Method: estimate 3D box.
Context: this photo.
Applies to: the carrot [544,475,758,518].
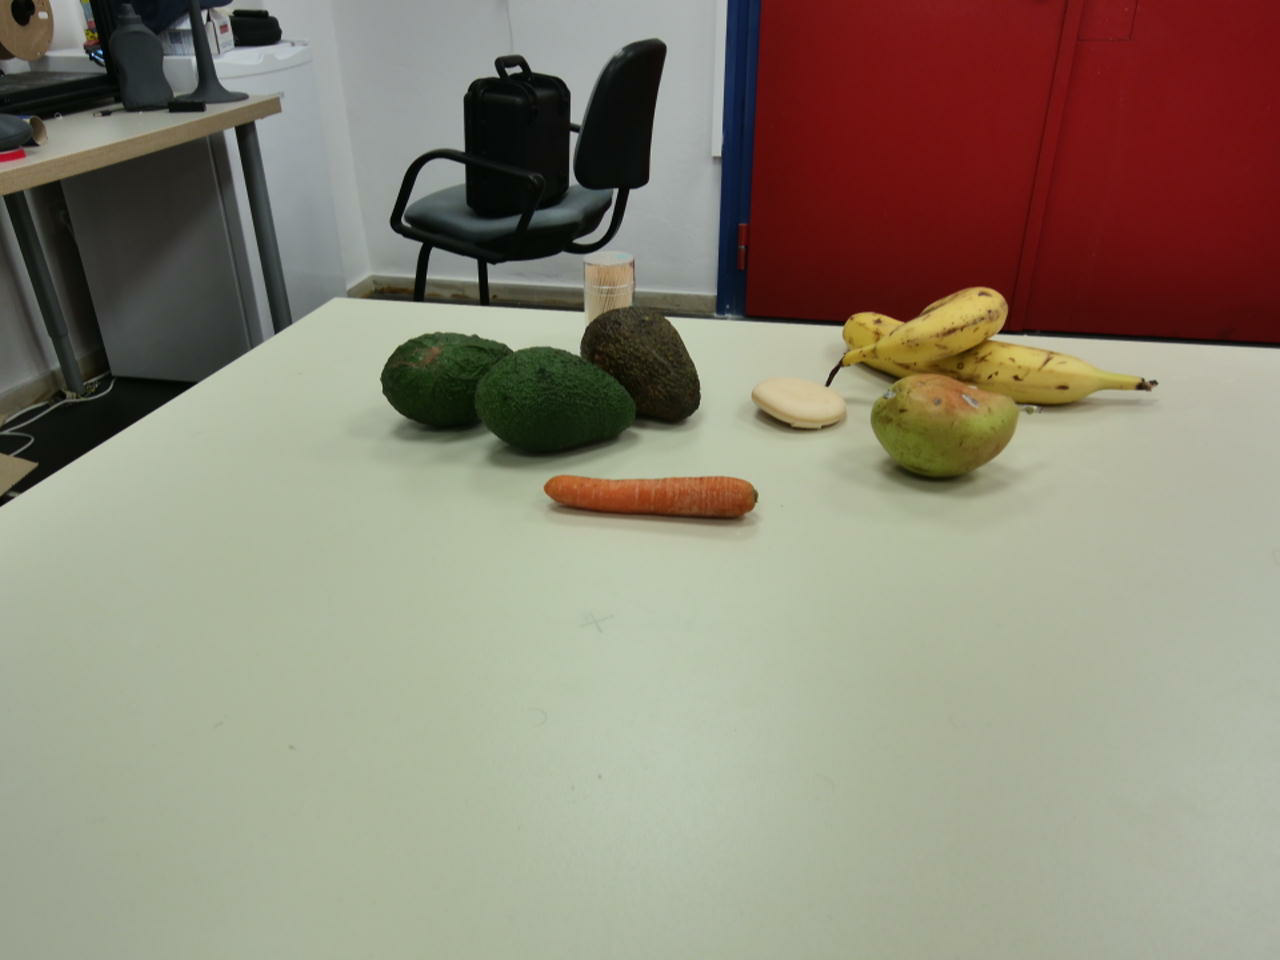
[{"bbox_3d":[0.005,0.008,0.568,0.122,0.023,0.024,4,26,8],"label":"carrot"}]
